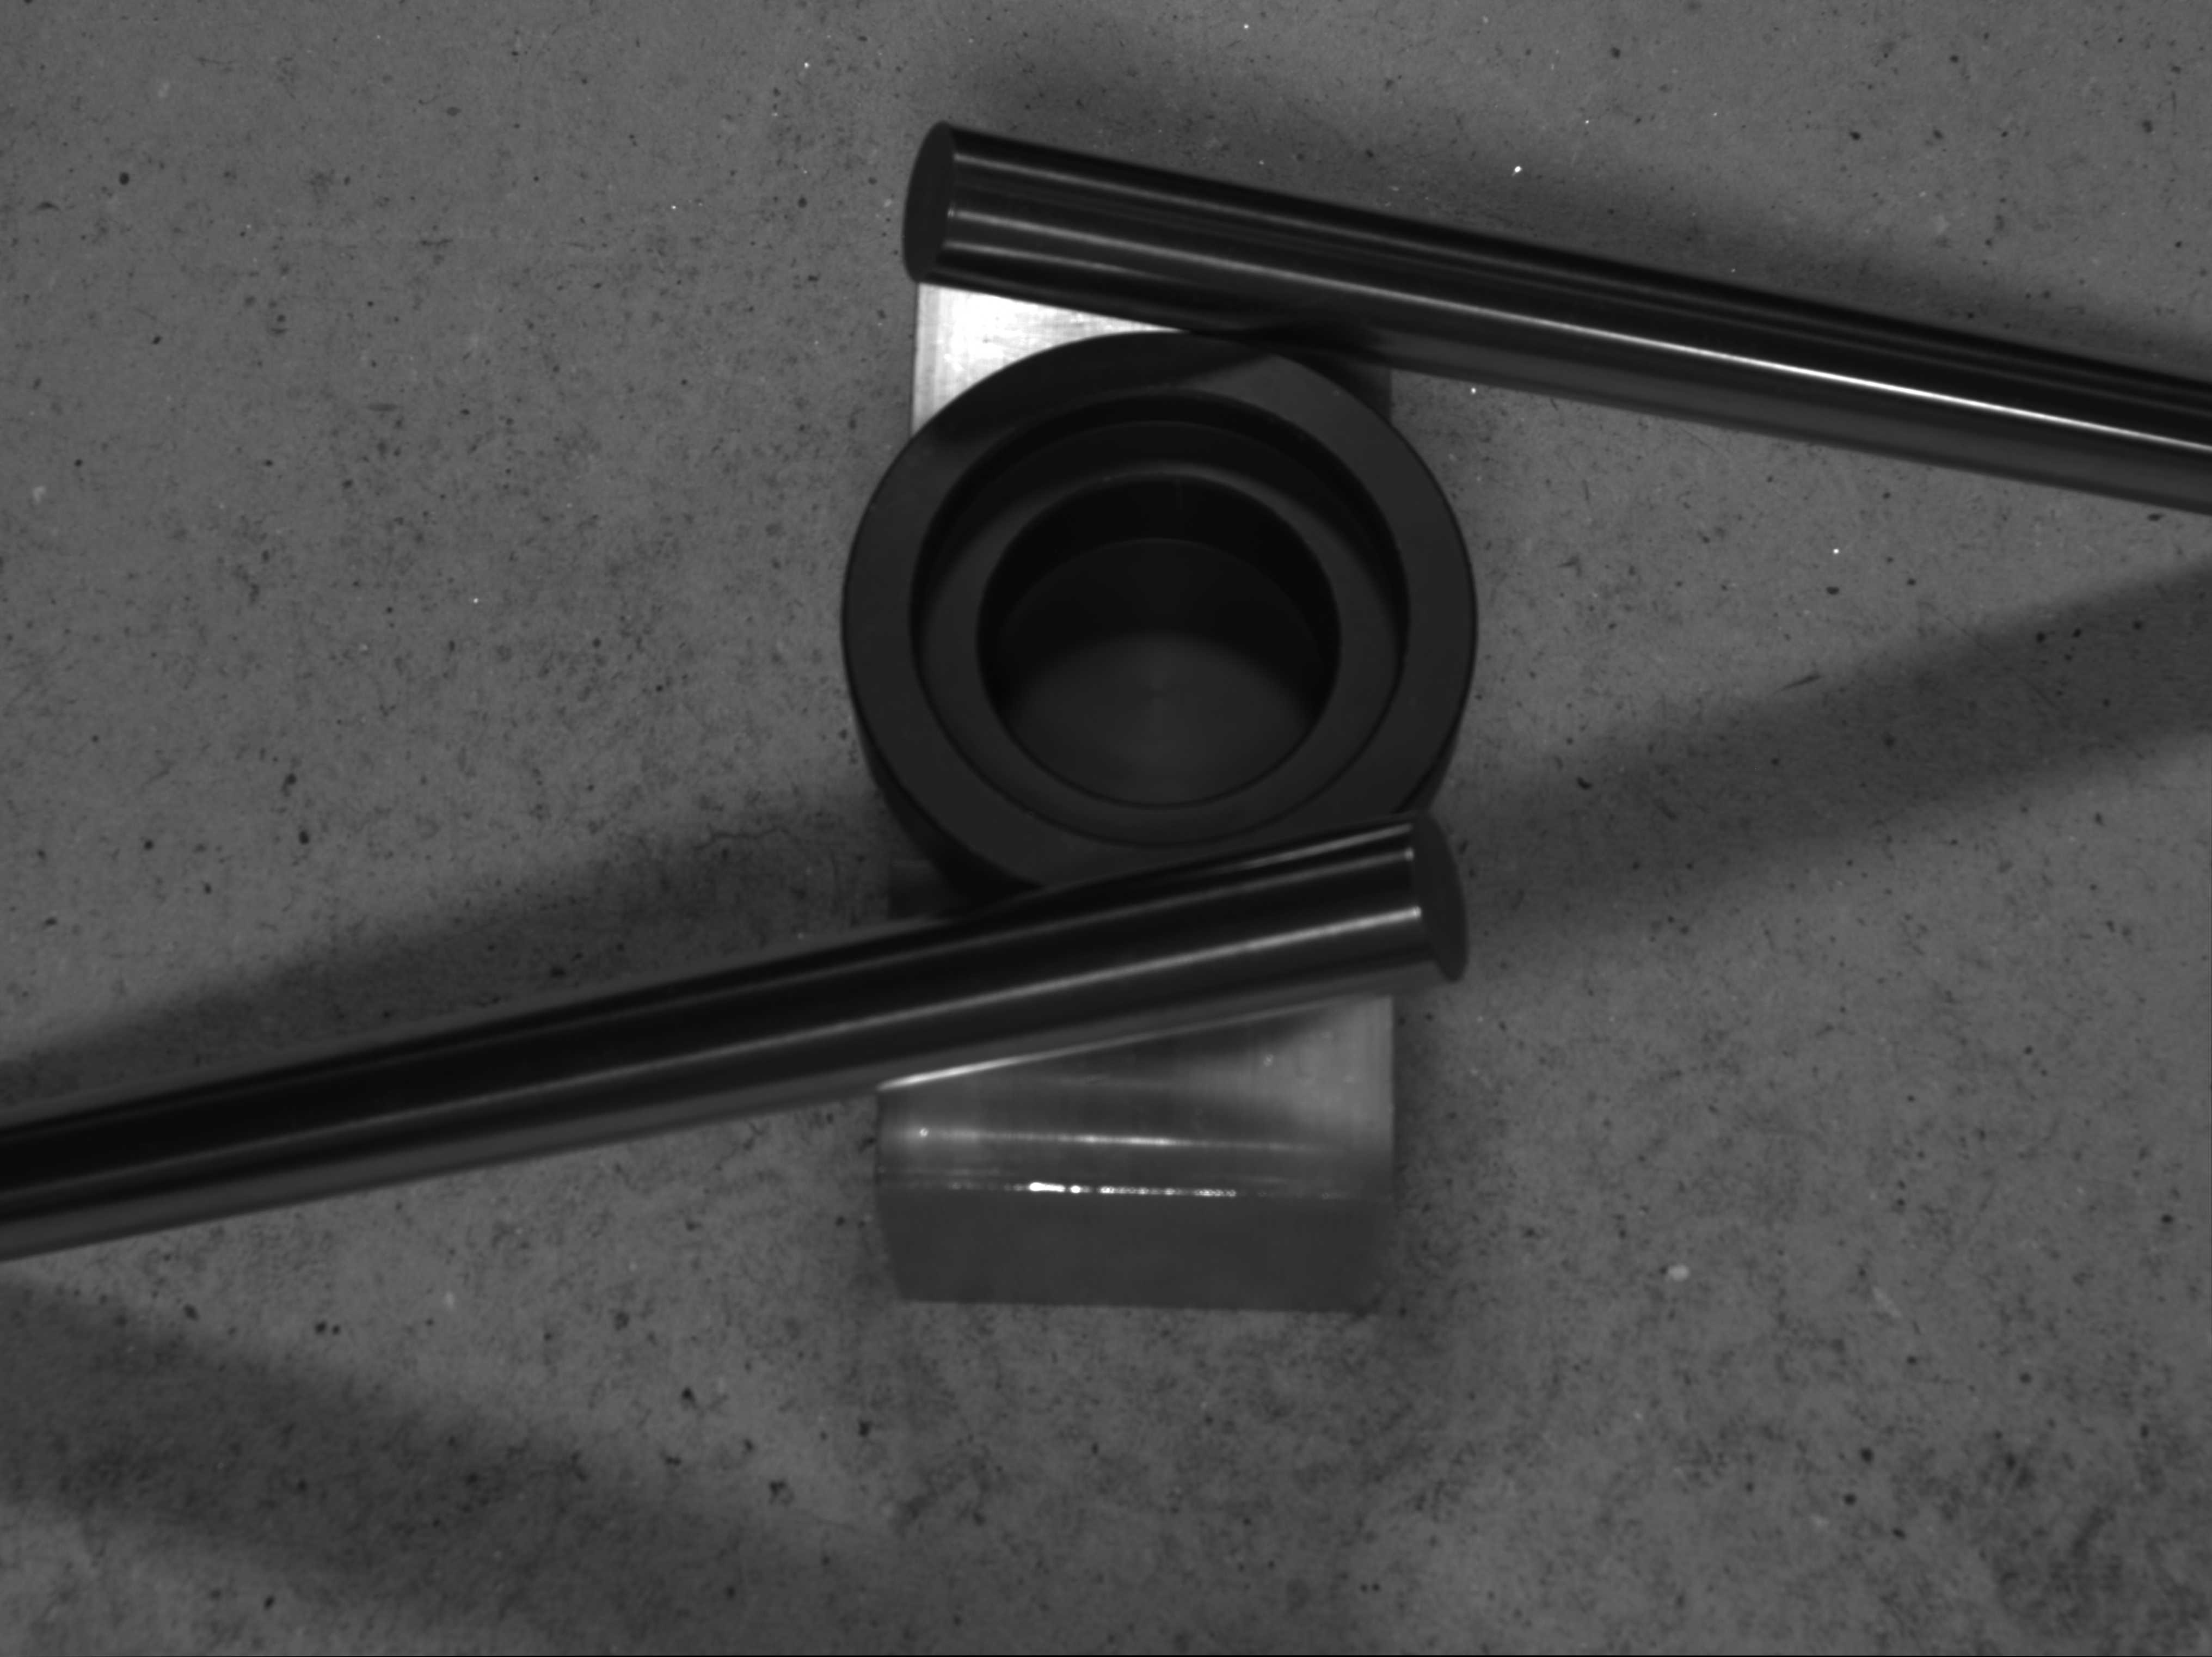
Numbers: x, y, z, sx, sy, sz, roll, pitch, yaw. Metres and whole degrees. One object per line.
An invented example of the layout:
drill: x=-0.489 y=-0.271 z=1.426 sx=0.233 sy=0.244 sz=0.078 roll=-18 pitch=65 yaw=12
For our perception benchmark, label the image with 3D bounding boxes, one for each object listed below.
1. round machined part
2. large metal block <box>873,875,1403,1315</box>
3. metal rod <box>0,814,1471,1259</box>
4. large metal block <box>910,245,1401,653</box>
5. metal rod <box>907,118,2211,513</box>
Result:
round machined part: x=0.009 y=-0.026 z=0.583 sx=0.098 sy=0.042 sz=0.098 roll=0 pitch=70 yaw=0
large metal block: x=0.005 y=0.045 z=0.599 sx=0.080 sy=0.080 sz=0.050 roll=1 pitch=70 yaw=0
metal rod: x=-0.090 y=0.039 z=0.571 sx=0.300 sy=0.025 sz=0.025 roll=-12 pitch=68 yaw=20
large metal block: x=0.009 y=-0.068 z=0.641 sx=0.080 sy=0.080 sz=0.050 roll=1 pitch=70 yaw=0
metal rod: x=0.113 y=-0.079 z=0.617 sx=0.301 sy=0.025 sz=0.025 roll=7 pitch=68 yaw=-21
